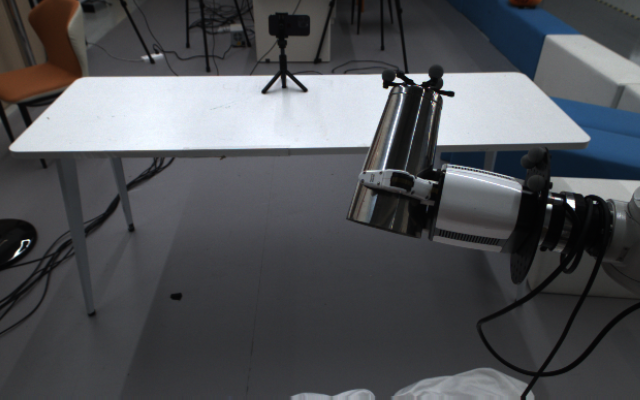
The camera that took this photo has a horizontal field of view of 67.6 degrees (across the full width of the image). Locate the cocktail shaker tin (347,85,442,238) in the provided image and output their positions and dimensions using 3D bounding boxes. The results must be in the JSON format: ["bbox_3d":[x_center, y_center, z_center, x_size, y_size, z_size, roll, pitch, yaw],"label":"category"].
[{"bbox_3d":[0.098,-0.047,0.589,0.093,0.170,0.093,15,-4,1],"label":"cocktail shaker tin"}]
